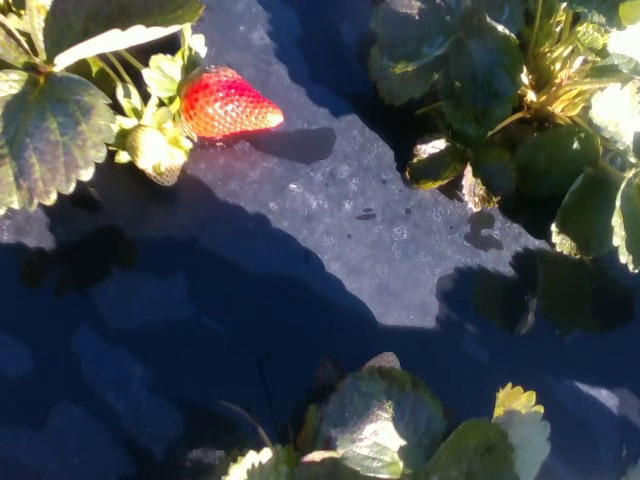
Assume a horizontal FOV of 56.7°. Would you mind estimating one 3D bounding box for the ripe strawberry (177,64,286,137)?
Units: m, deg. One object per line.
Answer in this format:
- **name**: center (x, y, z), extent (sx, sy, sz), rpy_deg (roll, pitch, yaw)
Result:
- **ripe strawberry**: center (-0.048, -0.074, 0.329), extent (0.064, 0.050, 0.052), rpy_deg (13, 15, 1)
